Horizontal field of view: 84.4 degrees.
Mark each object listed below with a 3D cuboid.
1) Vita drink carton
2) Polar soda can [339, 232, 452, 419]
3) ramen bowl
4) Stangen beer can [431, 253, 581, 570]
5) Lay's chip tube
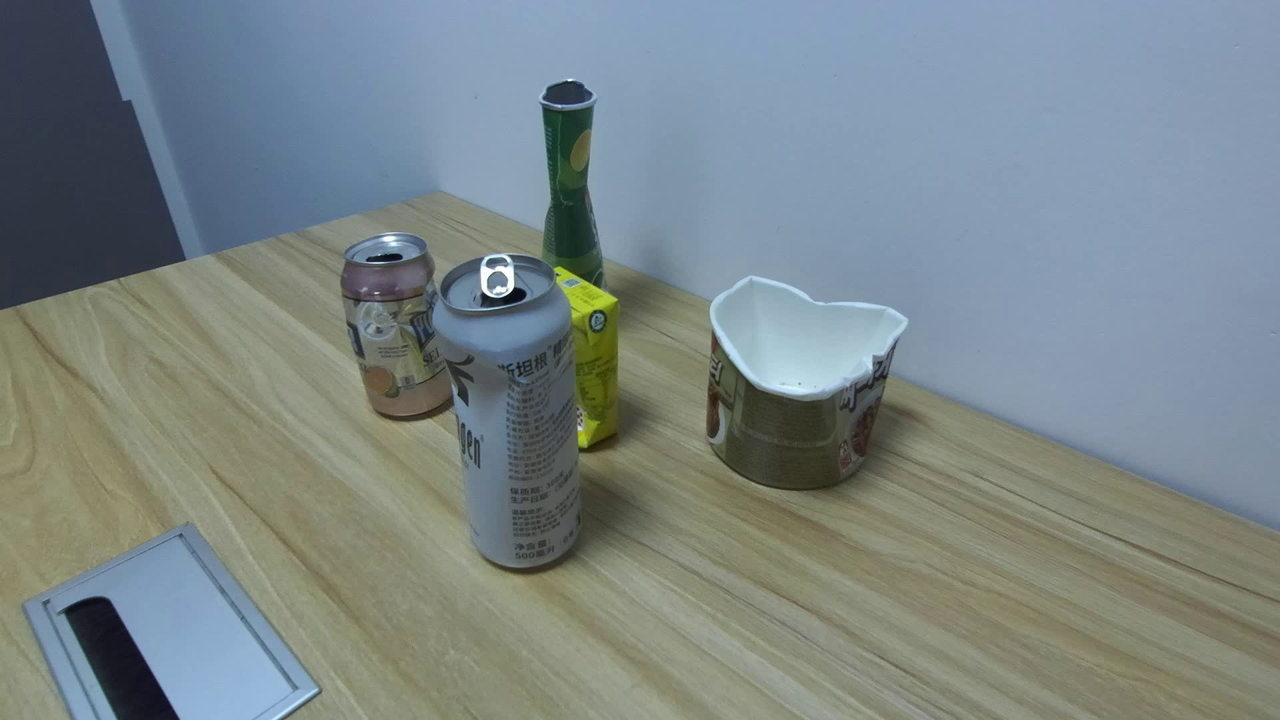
[{"bbox_3d":[-0.047,0.002,0.477,0.043,0.109,0.076,-25,41,-34],"label":"Vita drink carton"},{"bbox_3d":[-0.174,-0.024,0.505,0.074,0.122,0.067,-23,40,-32],"label":"Polar soda can"},{"bbox_3d":[0.098,0.019,0.467,0.113,0.097,0.134,17,35,23],"label":"ramen bowl"},{"bbox_3d":[-0.068,0.032,0.375,0.069,0.173,0.070,1,32,3],"label":"Stangen beer can"},{"bbox_3d":[-0.057,-0.116,0.576,0.069,0.199,0.074,-26,42,-35],"label":"Lay's chip tube"}]
